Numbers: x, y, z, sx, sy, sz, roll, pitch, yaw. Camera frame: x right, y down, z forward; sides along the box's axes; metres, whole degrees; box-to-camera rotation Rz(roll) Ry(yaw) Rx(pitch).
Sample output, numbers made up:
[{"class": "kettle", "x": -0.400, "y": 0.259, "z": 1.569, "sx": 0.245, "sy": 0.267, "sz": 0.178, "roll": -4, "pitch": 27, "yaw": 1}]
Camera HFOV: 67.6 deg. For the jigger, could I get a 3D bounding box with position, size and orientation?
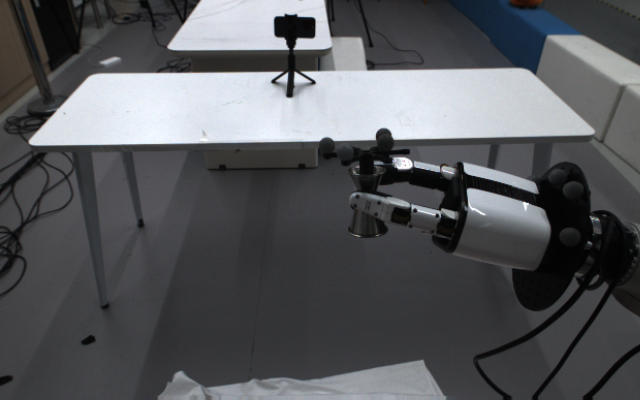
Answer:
[{"class": "jigger", "x": 0.050, "y": 0.001, "z": 0.515, "sx": 0.043, "sy": 0.071, "sz": 0.043, "roll": -2, "pitch": 19, "yaw": 1}]
